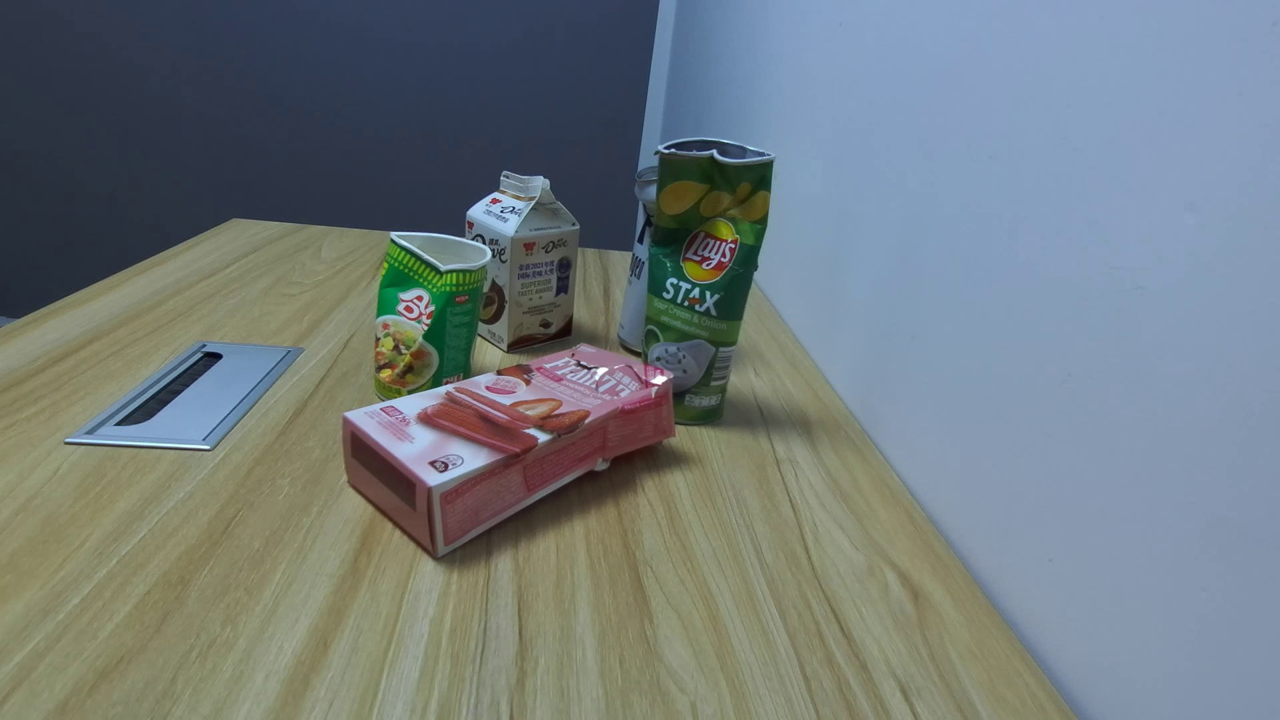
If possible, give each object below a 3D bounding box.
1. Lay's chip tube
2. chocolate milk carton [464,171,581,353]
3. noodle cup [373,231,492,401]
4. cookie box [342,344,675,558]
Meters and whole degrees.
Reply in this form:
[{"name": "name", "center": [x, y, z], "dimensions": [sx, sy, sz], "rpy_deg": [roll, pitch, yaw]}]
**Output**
[{"name": "Lay's chip tube", "center": [0.043, -0.055, 0.516], "dimensions": [0.077, 0.201, 0.069], "rpy_deg": [4, 23, -1]}, {"name": "chocolate milk carton", "center": [-0.104, -0.092, 0.626], "dimensions": [0.074, 0.148, 0.075], "rpy_deg": [-17, 34, -40]}, {"name": "noodle cup", "center": [-0.155, -0.028, 0.515], "dimensions": [0.075, 0.122, 0.082], "rpy_deg": [8, 13, -16]}, {"name": "cookie box", "center": [-0.076, 0.046, 0.443], "dimensions": [0.104, 0.059, 0.187], "rpy_deg": [22, 31, 40]}]
